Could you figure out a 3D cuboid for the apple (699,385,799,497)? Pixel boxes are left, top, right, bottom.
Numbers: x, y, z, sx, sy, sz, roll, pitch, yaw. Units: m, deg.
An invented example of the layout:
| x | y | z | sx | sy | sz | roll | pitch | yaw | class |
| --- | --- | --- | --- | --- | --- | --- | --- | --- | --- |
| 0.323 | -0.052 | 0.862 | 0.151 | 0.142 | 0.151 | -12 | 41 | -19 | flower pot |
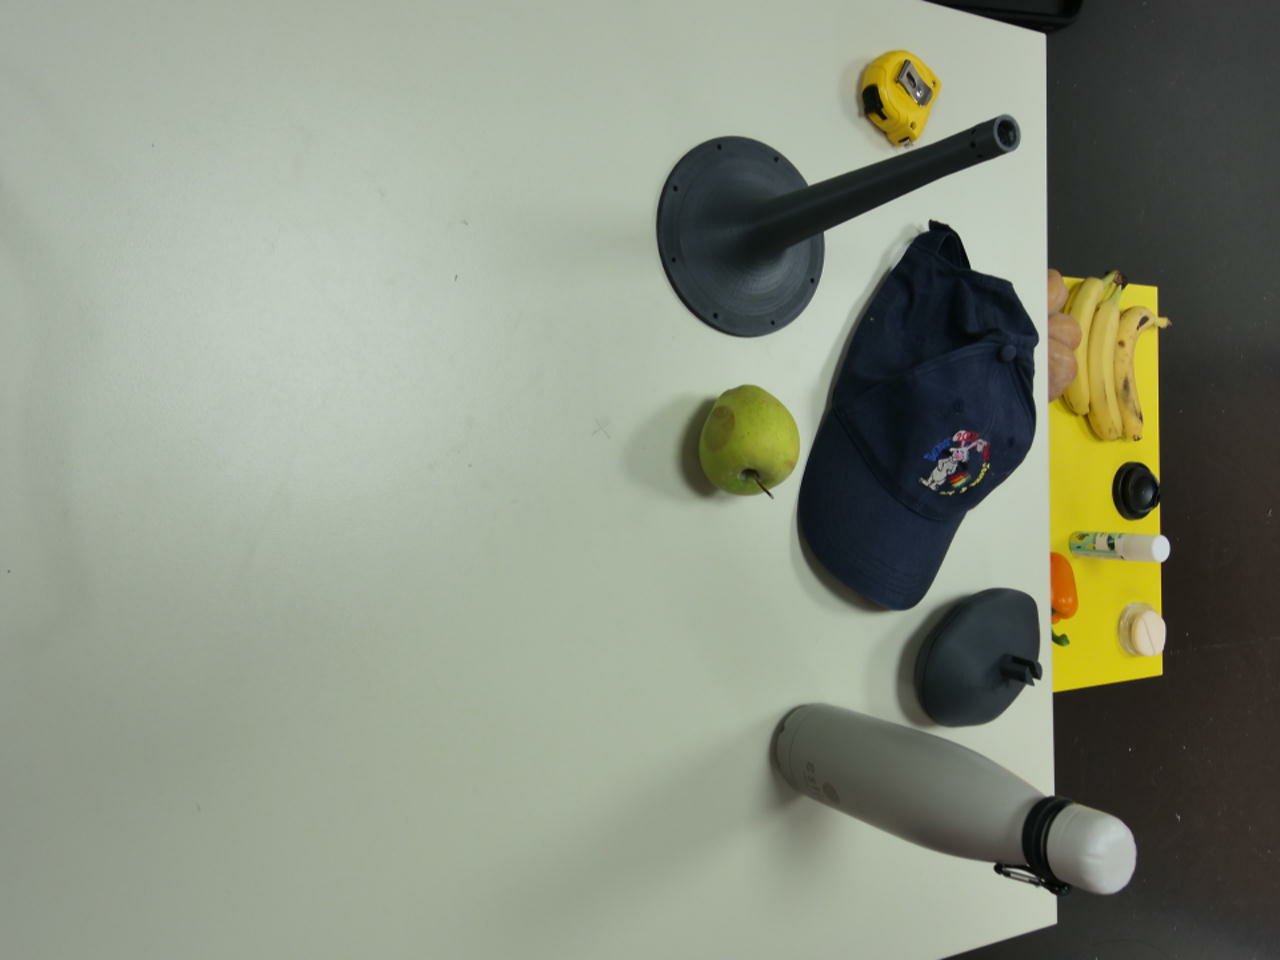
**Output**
| x | y | z | sx | sy | sz | roll | pitch | yaw | class |
| --- | --- | --- | --- | --- | --- | --- | --- | --- | --- |
| 0.079 | -0.027 | 0.714 | 0.072 | 0.075 | 0.077 | 48 | 70 | -20 | apple |
